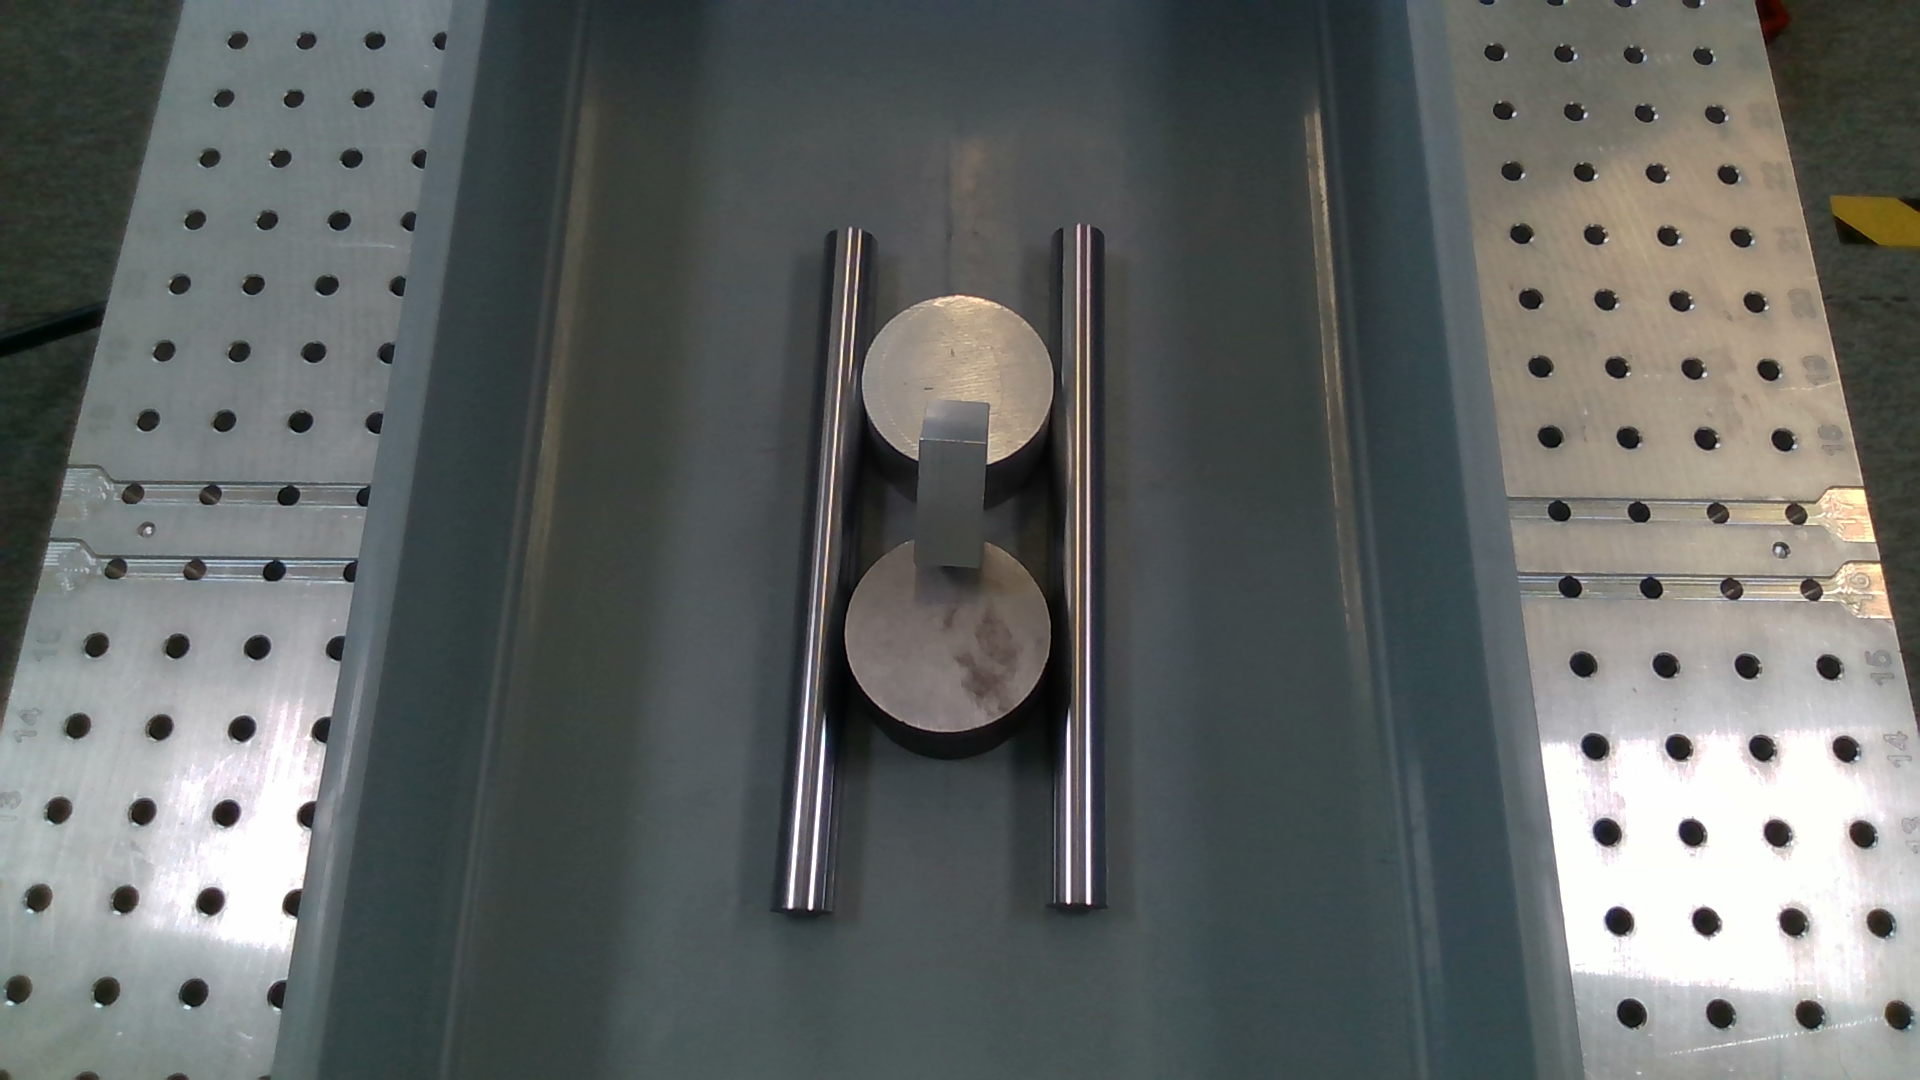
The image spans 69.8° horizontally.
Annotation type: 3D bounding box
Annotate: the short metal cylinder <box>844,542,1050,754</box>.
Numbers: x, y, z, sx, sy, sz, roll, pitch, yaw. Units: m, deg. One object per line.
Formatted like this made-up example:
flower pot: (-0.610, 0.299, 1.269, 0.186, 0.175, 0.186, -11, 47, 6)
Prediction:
short metal cylinder: (-0.005, 0.044, 0.558, 0.080, 0.050, 0.080, 0, 70, 0)

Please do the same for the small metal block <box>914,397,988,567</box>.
small metal block: (-0.003, -0.023, 0.533, 0.025, 0.050, 0.050, 3, 113, 0)

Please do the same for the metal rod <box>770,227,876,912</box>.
metal rod: (-0.056, 0.003, 0.586, 0.025, 0.025, 0.299, 2, 70, 1)

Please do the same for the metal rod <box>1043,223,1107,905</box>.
metal rod: (0.050, 0.001, 0.587, 0.025, 0.025, 0.299, 2, 70, 1)

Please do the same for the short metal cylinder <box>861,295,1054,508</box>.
short metal cylinder: (-0.001, -0.058, 0.595, 0.080, 0.050, 0.080, 0, 70, 0)
